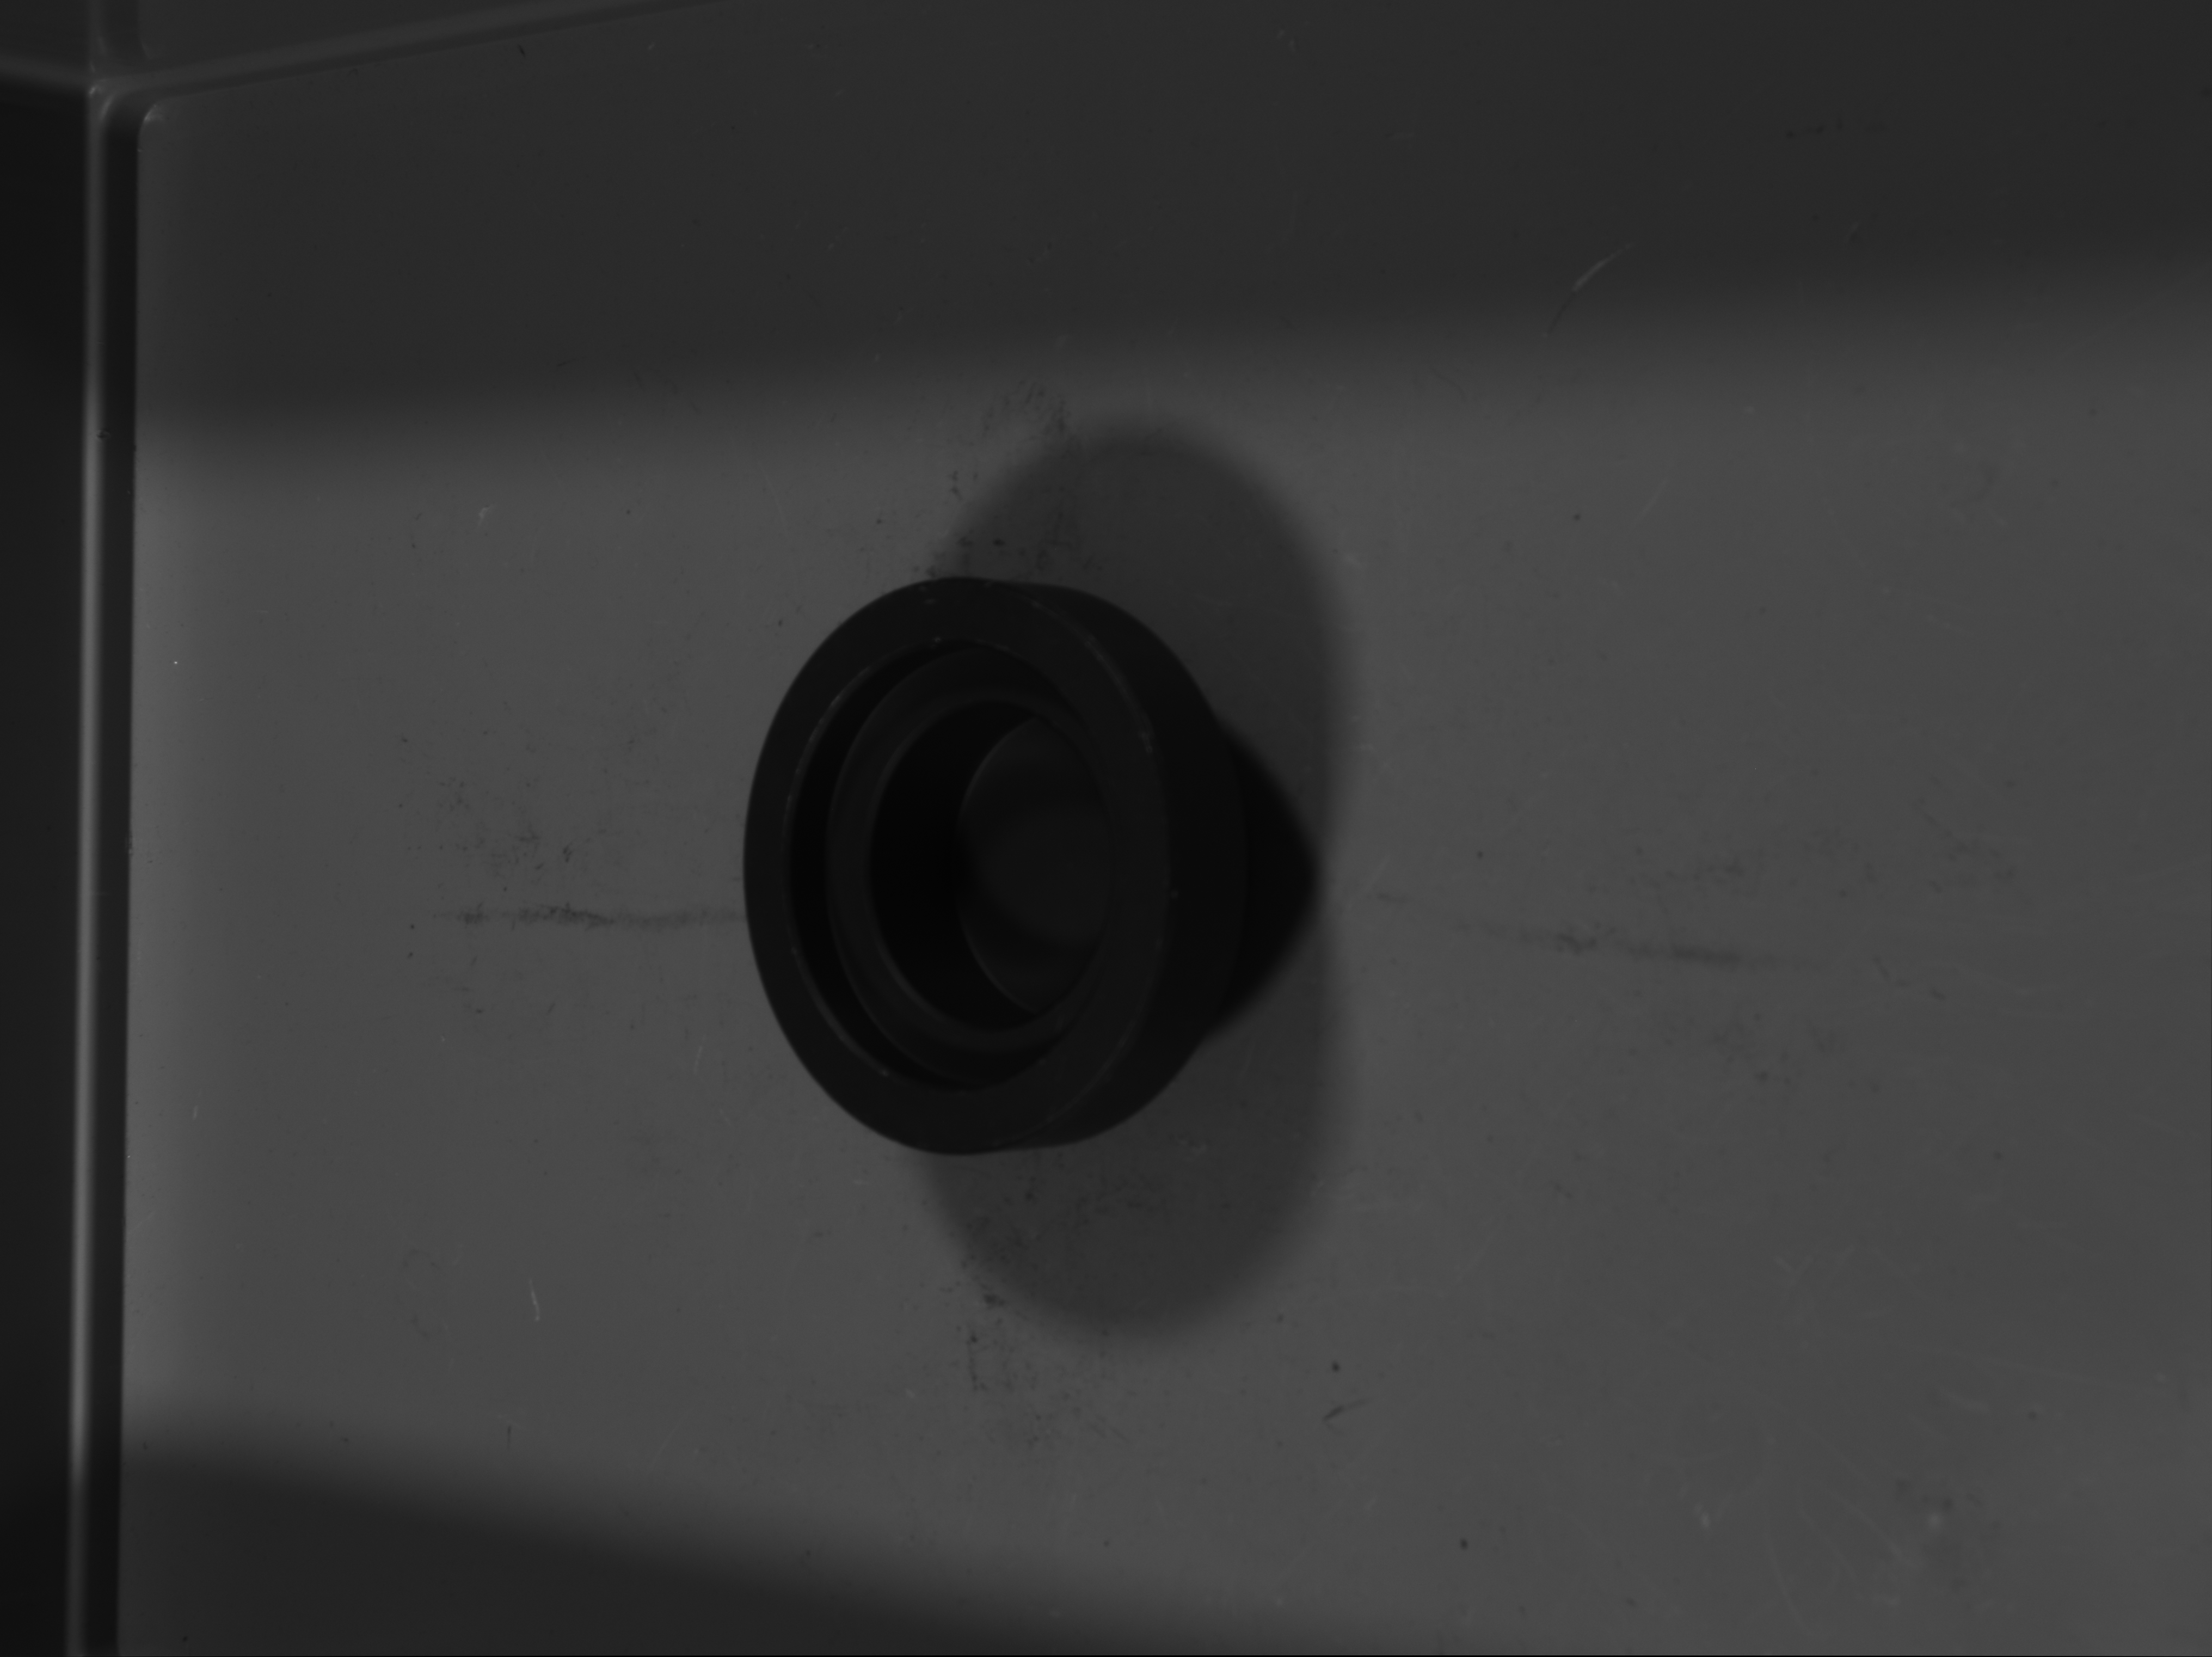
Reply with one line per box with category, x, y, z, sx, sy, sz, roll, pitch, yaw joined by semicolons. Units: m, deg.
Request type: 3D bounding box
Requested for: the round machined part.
round machined part;-0.018;0.007;0.636;0.098;0.042;0.098;0;90;39
